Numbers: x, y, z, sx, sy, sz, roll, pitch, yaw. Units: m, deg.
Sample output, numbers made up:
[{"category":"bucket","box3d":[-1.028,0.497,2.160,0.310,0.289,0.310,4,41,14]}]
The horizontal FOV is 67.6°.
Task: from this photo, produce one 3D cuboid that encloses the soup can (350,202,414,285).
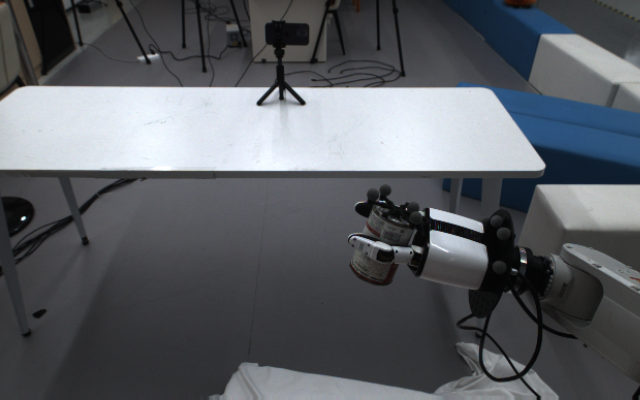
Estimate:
[{"category":"soup can","box3d":[0.092,0.062,0.698,0.067,0.101,0.067,17,21,-7]}]
